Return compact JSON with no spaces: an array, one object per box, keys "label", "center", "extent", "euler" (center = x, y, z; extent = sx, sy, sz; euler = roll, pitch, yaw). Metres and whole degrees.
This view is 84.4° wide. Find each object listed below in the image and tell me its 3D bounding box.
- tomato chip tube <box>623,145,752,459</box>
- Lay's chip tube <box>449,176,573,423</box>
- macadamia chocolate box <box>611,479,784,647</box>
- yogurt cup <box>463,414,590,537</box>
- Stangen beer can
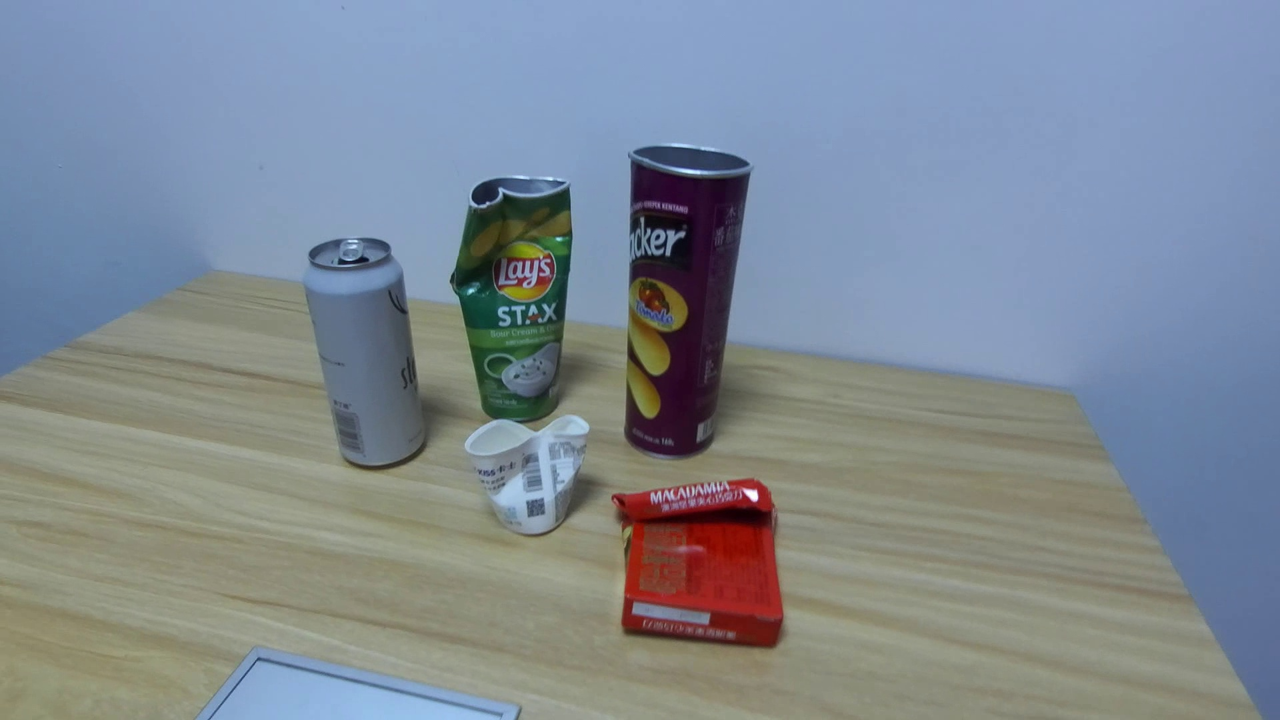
[{"label":"tomato chip tube","center":[0.030,-0.038,0.542],"extent":[0.077,0.234,0.080],"euler":[-9,32,-19]},{"label":"Lay's chip tube","center":[-0.103,-0.048,0.587],"extent":[0.069,0.201,0.077],"euler":[18,36,24]},{"label":"macadamia chocolate box","center":[0.034,0.124,0.464],"extent":[0.112,0.056,0.126],"euler":[-8,32,11]},{"label":"yogurt cup","center":[-0.077,0.079,0.497],"extent":[0.053,0.071,0.076],"euler":[28,40,34]},{"label":"Stangen beer can","center":[-0.205,-0.003,0.532],"extent":[0.067,0.171,0.067],"euler":[2,29,-1]}]
